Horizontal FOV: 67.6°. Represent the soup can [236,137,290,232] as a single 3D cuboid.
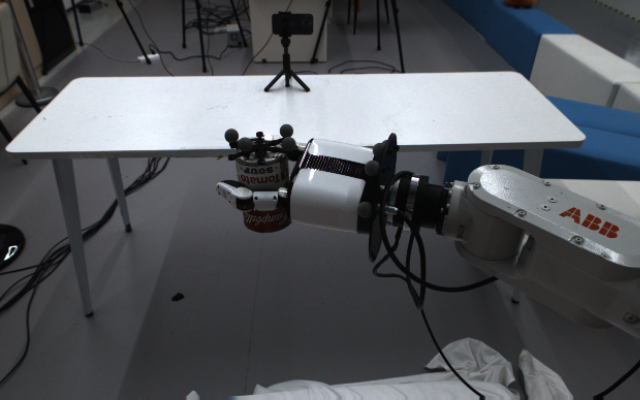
[{"bbox_3d":[-0.070,-0.018,0.625,0.067,0.101,0.067,-2,32,1],"label":"soup can"}]
